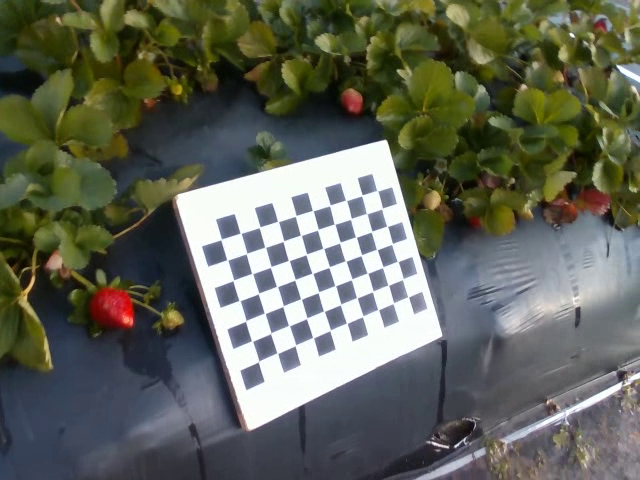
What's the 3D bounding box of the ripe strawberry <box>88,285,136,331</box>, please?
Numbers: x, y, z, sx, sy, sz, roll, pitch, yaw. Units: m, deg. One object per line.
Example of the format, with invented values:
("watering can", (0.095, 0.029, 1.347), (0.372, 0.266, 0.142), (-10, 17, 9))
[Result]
("ripe strawberry", (-0.213, 0.075, 0.579), (0.057, 0.043, 0.052), (29, -23, 45))
